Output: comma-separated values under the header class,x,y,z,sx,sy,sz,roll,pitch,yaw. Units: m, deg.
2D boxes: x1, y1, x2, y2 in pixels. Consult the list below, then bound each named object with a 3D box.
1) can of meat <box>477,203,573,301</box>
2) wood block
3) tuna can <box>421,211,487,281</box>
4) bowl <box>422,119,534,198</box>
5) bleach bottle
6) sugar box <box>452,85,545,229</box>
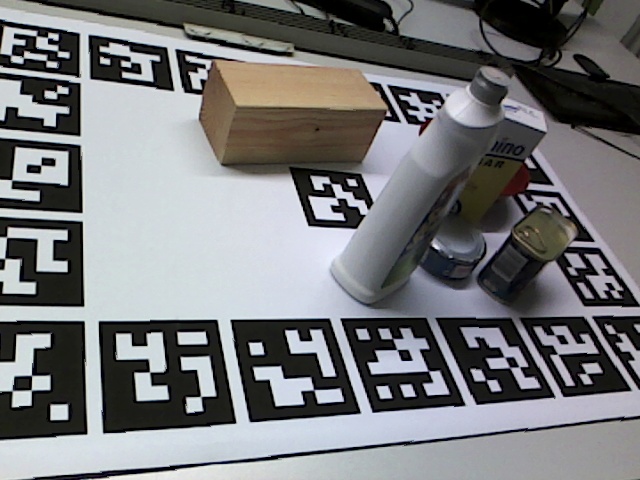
class,x,y,z,sx,sy,sz,roll,pitch,yaw
can of meat,0.239,0.015,0.732,0.058,0.084,0.101,41,42,21
wood block,-0.035,-0.154,0.765,0.205,0.090,0.091,-6,55,-31
tuna can,0.149,0.005,0.725,0.085,0.034,0.086,13,46,-14
bowl,0.206,-0.103,0.852,0.161,0.055,0.162,11,44,-11
bleach bottle,0.099,-0.050,0.599,0.102,0.251,0.068,-23,60,-40
sugar box,0.177,-0.087,0.726,0.093,0.176,0.045,15,45,-7
